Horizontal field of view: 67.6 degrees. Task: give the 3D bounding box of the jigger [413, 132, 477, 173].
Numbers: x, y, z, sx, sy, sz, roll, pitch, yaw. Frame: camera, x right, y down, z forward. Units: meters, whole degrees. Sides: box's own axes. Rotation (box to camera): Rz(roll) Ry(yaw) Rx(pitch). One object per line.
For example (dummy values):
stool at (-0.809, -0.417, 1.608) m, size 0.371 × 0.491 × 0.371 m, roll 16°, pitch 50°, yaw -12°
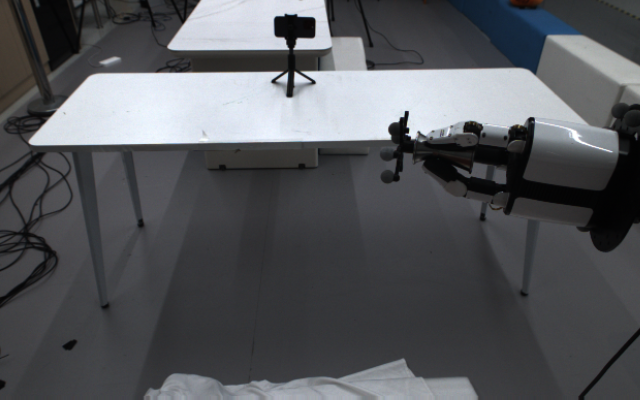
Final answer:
jigger at (0.150, -0.065, 0.572) m, size 0.071 × 0.043 × 0.043 m, roll 9°, pitch 35°, yaw 15°
